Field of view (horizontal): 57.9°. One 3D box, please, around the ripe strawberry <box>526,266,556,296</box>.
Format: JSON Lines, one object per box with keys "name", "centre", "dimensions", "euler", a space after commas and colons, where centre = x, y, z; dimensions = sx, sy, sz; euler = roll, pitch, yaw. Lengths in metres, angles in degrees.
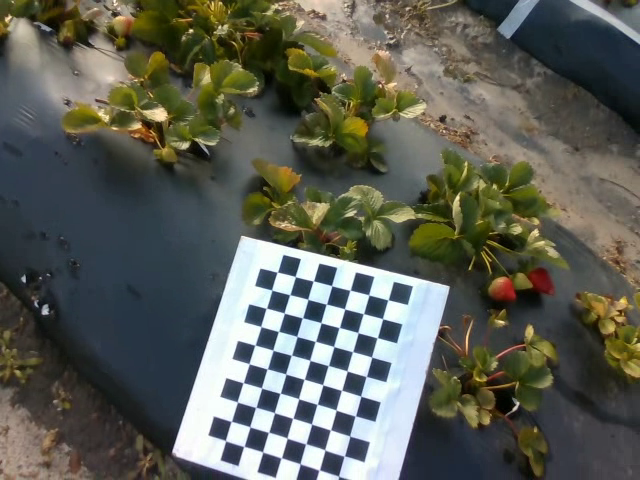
{"name": "ripe strawberry", "centre": [0.392, 0.076, 1.017], "dimensions": [0.048, 0.065, 0.050], "euler": [-34, -18, 3]}
